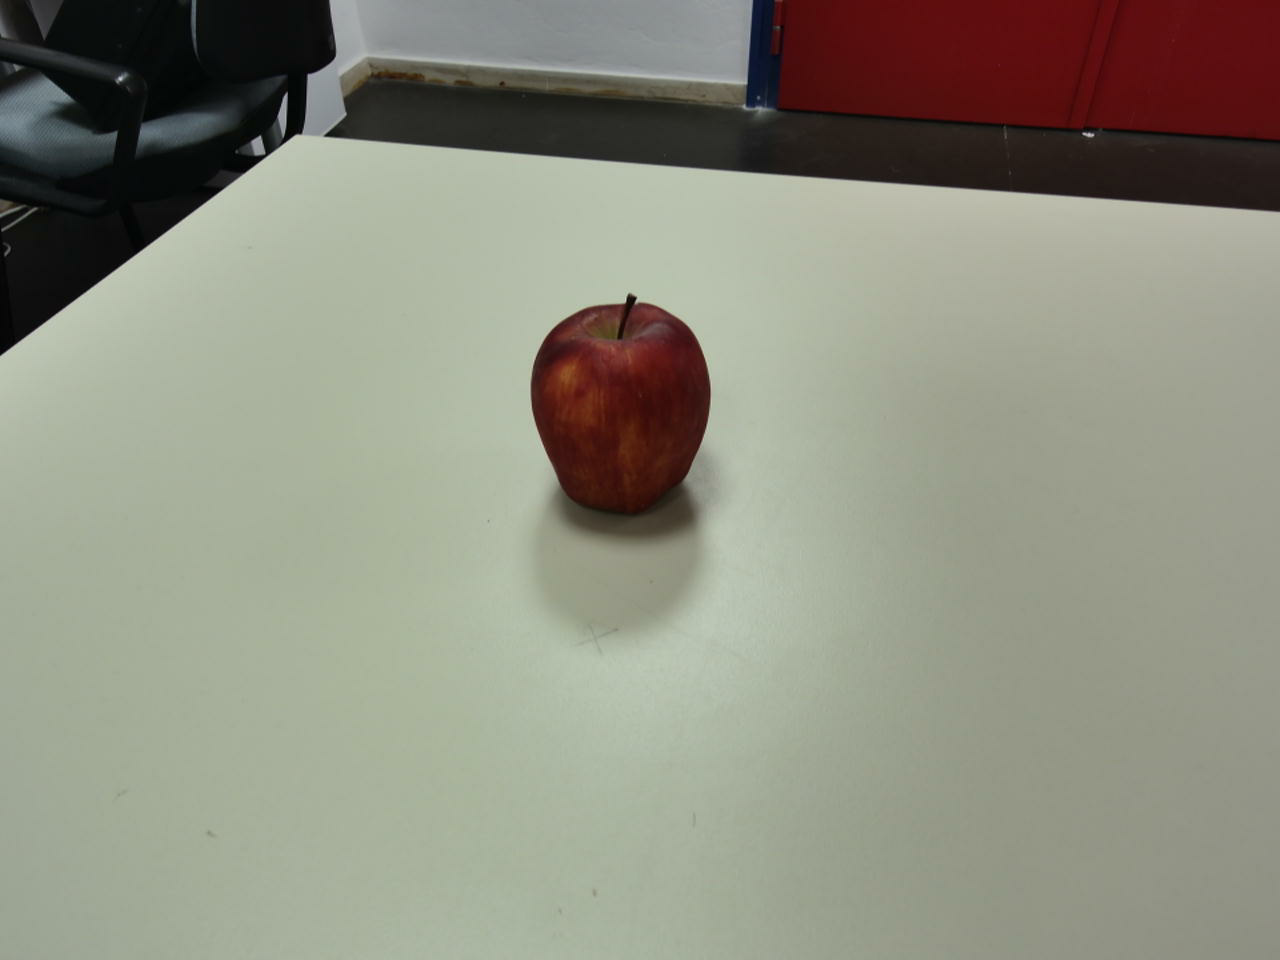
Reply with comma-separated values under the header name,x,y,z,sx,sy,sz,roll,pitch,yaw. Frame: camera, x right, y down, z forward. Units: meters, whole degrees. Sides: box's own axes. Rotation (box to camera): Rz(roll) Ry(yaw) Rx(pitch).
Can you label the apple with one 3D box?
name,x,y,z,sx,sy,sz,roll,pitch,yaw
apple,-0.009,-0.037,0.421,0.083,0.090,0.083,0,38,0
